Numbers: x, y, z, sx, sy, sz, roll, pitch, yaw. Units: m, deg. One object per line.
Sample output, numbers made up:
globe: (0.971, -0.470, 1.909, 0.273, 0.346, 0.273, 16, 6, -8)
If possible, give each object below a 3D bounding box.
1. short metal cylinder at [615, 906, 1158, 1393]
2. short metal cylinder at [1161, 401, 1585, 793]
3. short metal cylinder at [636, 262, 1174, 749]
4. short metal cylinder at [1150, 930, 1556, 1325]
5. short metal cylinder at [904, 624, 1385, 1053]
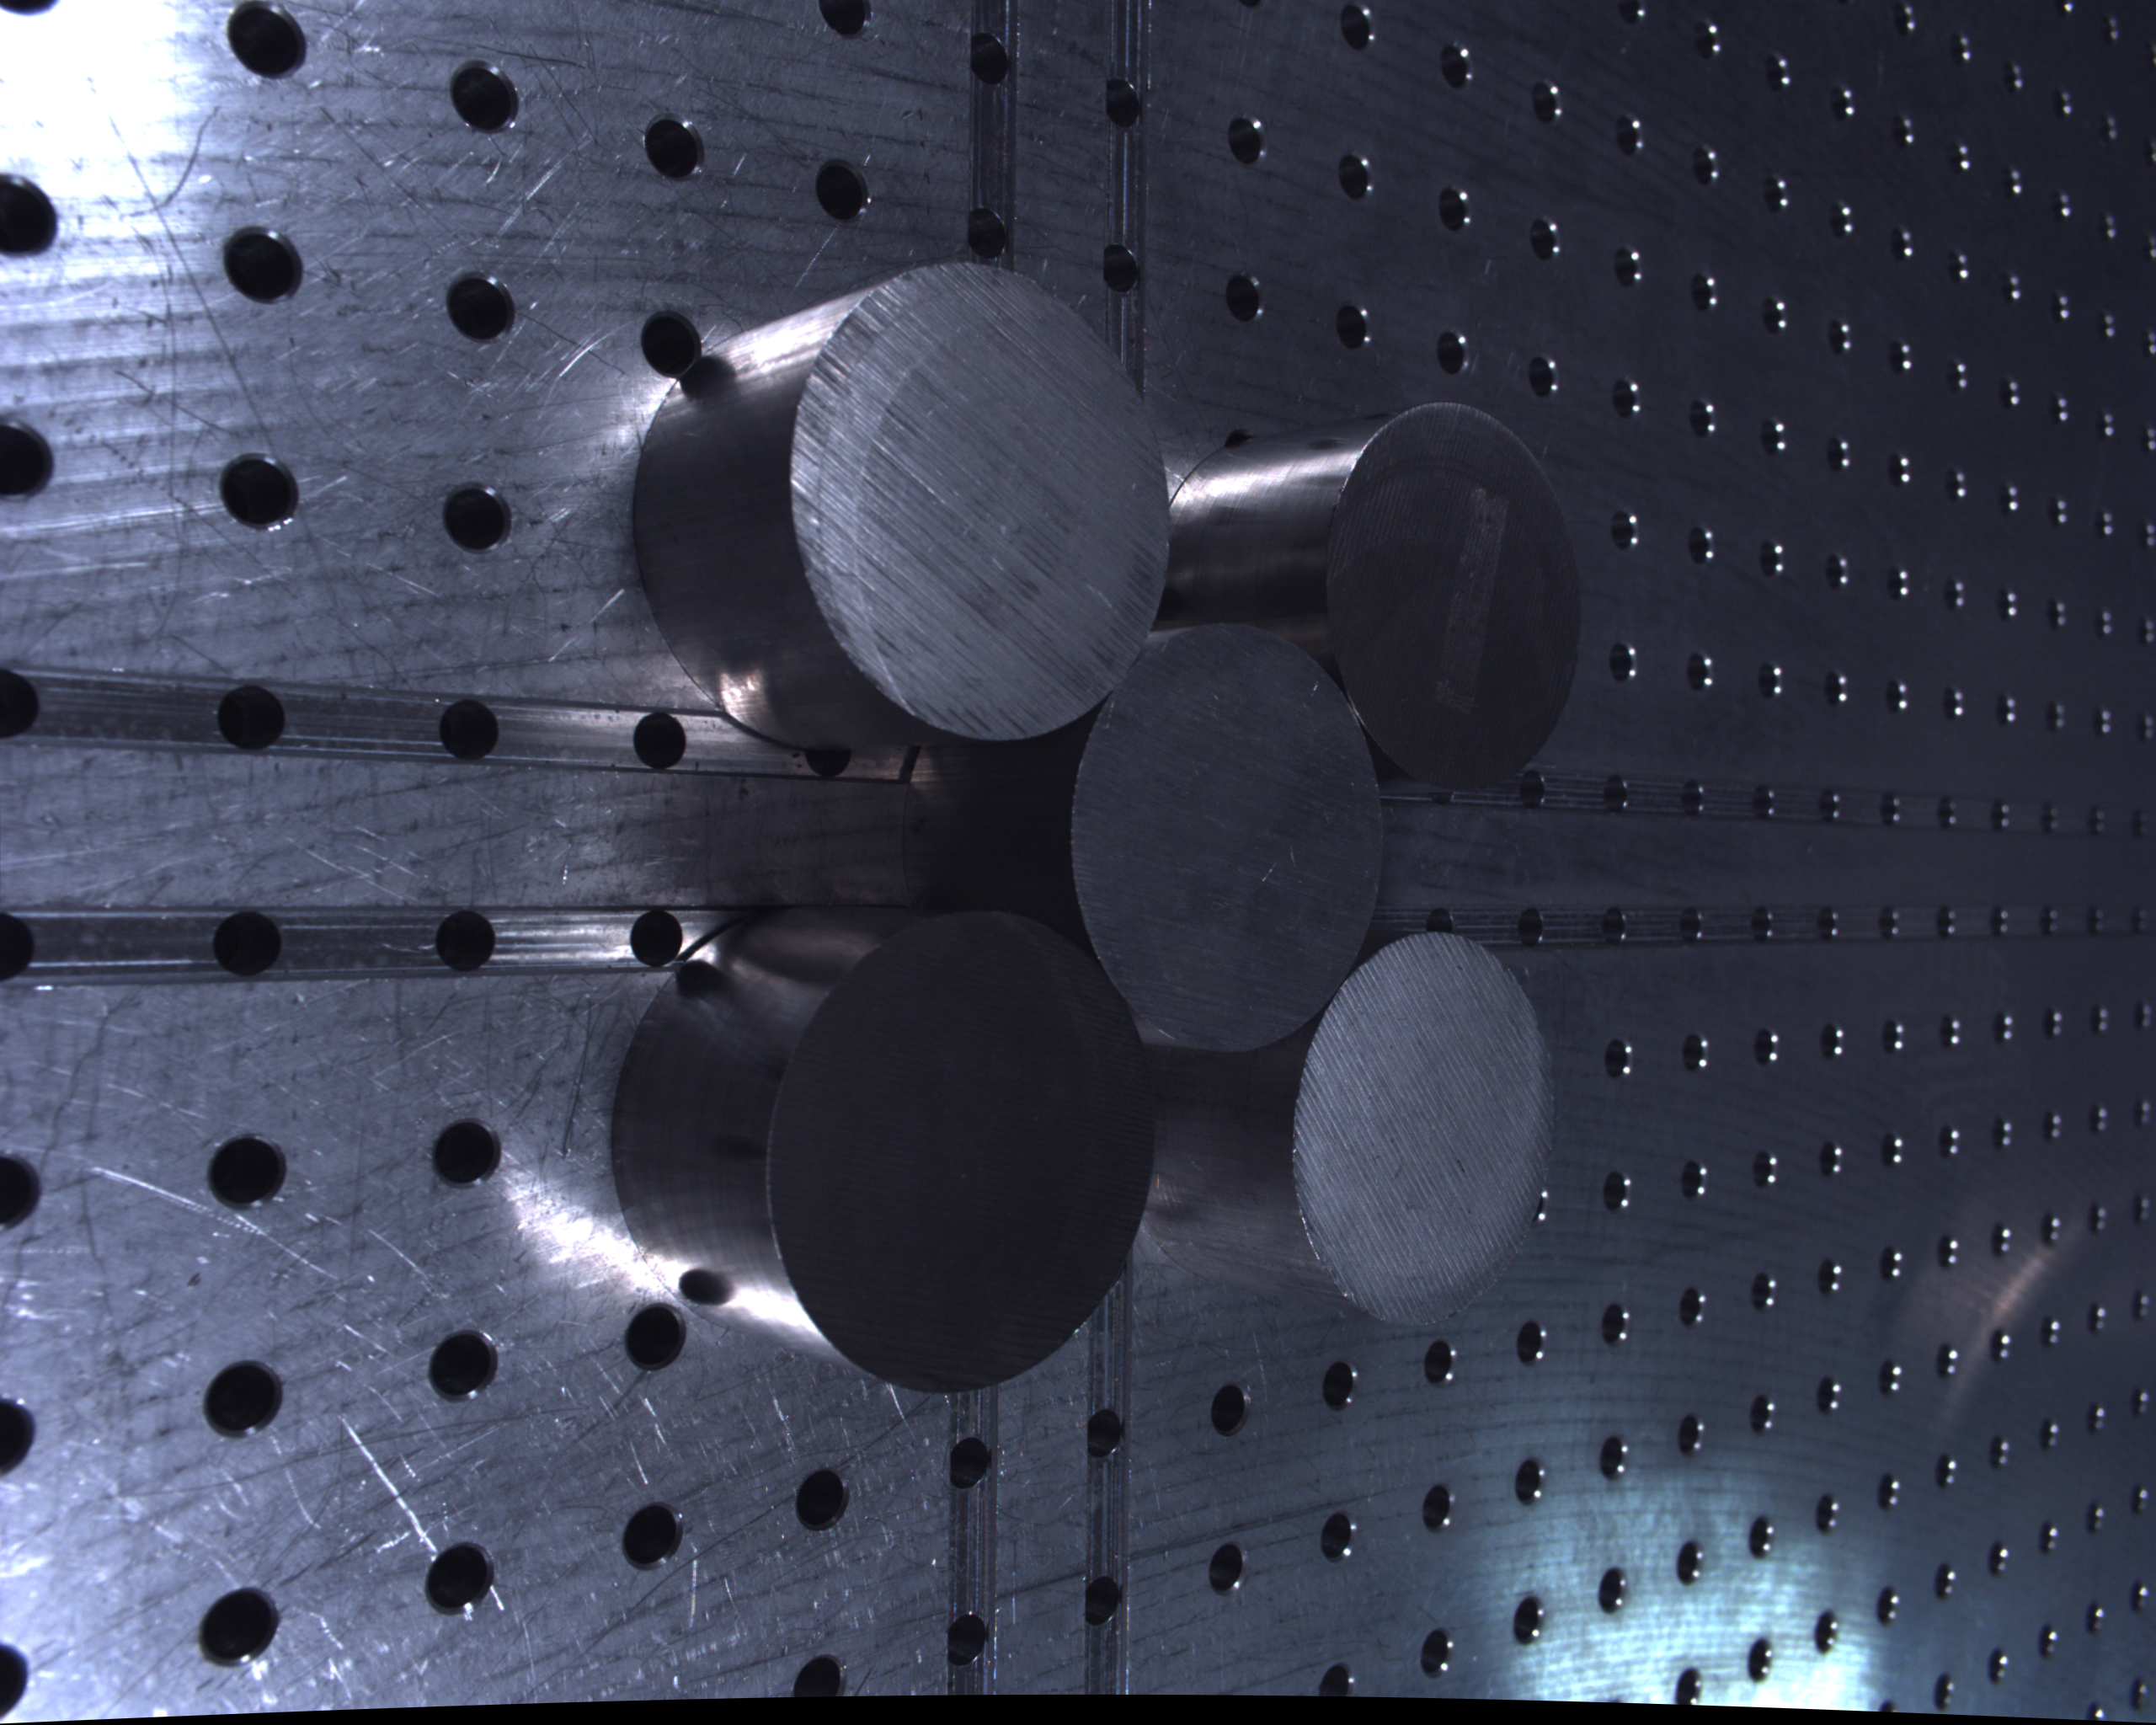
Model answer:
short metal cylinder: (-0.033, 0.048, 0.366, 0.081, 0.050, 0.079, 0, 90, -40)
short metal cylinder: (0.063, -0.054, 0.445, 0.081, 0.050, 0.079, 0, 90, -40)
short metal cylinder: (-0.030, -0.060, 0.369, 0.081, 0.050, 0.079, 0, 90, -40)
short metal cylinder: (0.056, 0.053, 0.441, 0.081, 0.050, 0.079, 0, 90, -40)
short metal cylinder: (0.014, -0.005, 0.406, 0.081, 0.050, 0.079, 0, 90, -40)
